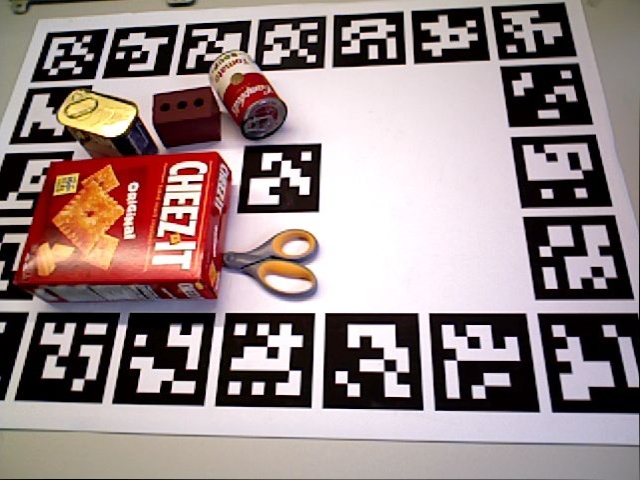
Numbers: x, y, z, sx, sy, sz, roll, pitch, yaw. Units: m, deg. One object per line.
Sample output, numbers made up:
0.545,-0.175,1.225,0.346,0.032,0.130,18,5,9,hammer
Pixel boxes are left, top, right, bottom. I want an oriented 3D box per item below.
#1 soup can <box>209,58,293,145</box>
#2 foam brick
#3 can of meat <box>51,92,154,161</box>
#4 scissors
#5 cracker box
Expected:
-0.091,-0.180,0.702,0.067,0.069,0.101,-36,62,-10,soup can
-0.173,-0.153,0.701,0.078,0.052,0.052,-11,65,1,foam brick
-0.270,-0.130,0.681,0.102,0.085,0.057,12,67,11,can of meat
-0.104,0.035,0.616,0.202,0.016,0.087,-6,66,4,scissors
-0.220,-0.007,0.614,0.214,0.073,0.162,-8,64,7,cracker box
